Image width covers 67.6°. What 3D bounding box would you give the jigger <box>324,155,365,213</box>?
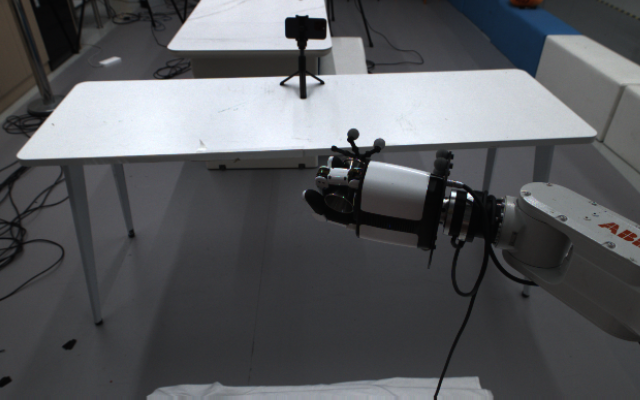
[{"bbox_3d":[0.039,-0.024,0.679,0.043,0.043,0.071,15,58,18],"label":"jigger"}]
